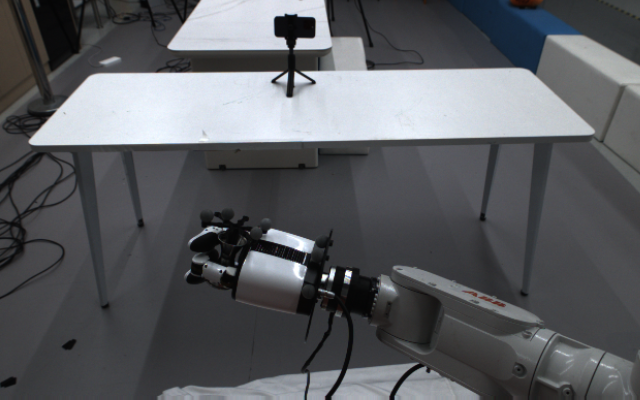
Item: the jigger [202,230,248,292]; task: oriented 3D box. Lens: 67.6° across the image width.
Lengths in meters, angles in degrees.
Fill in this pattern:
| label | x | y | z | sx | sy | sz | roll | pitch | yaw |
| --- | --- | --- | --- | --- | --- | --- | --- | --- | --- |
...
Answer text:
| label | x | y | z | sx | sy | sz | roll | pitch | yaw |
| --- | --- | --- | --- | --- | --- | --- | --- | --- | --- |
| jigger | -0.124 | 0.083 | 0.667 | 0.043 | 0.071 | 0.043 | 15 | 17 | -5 |
